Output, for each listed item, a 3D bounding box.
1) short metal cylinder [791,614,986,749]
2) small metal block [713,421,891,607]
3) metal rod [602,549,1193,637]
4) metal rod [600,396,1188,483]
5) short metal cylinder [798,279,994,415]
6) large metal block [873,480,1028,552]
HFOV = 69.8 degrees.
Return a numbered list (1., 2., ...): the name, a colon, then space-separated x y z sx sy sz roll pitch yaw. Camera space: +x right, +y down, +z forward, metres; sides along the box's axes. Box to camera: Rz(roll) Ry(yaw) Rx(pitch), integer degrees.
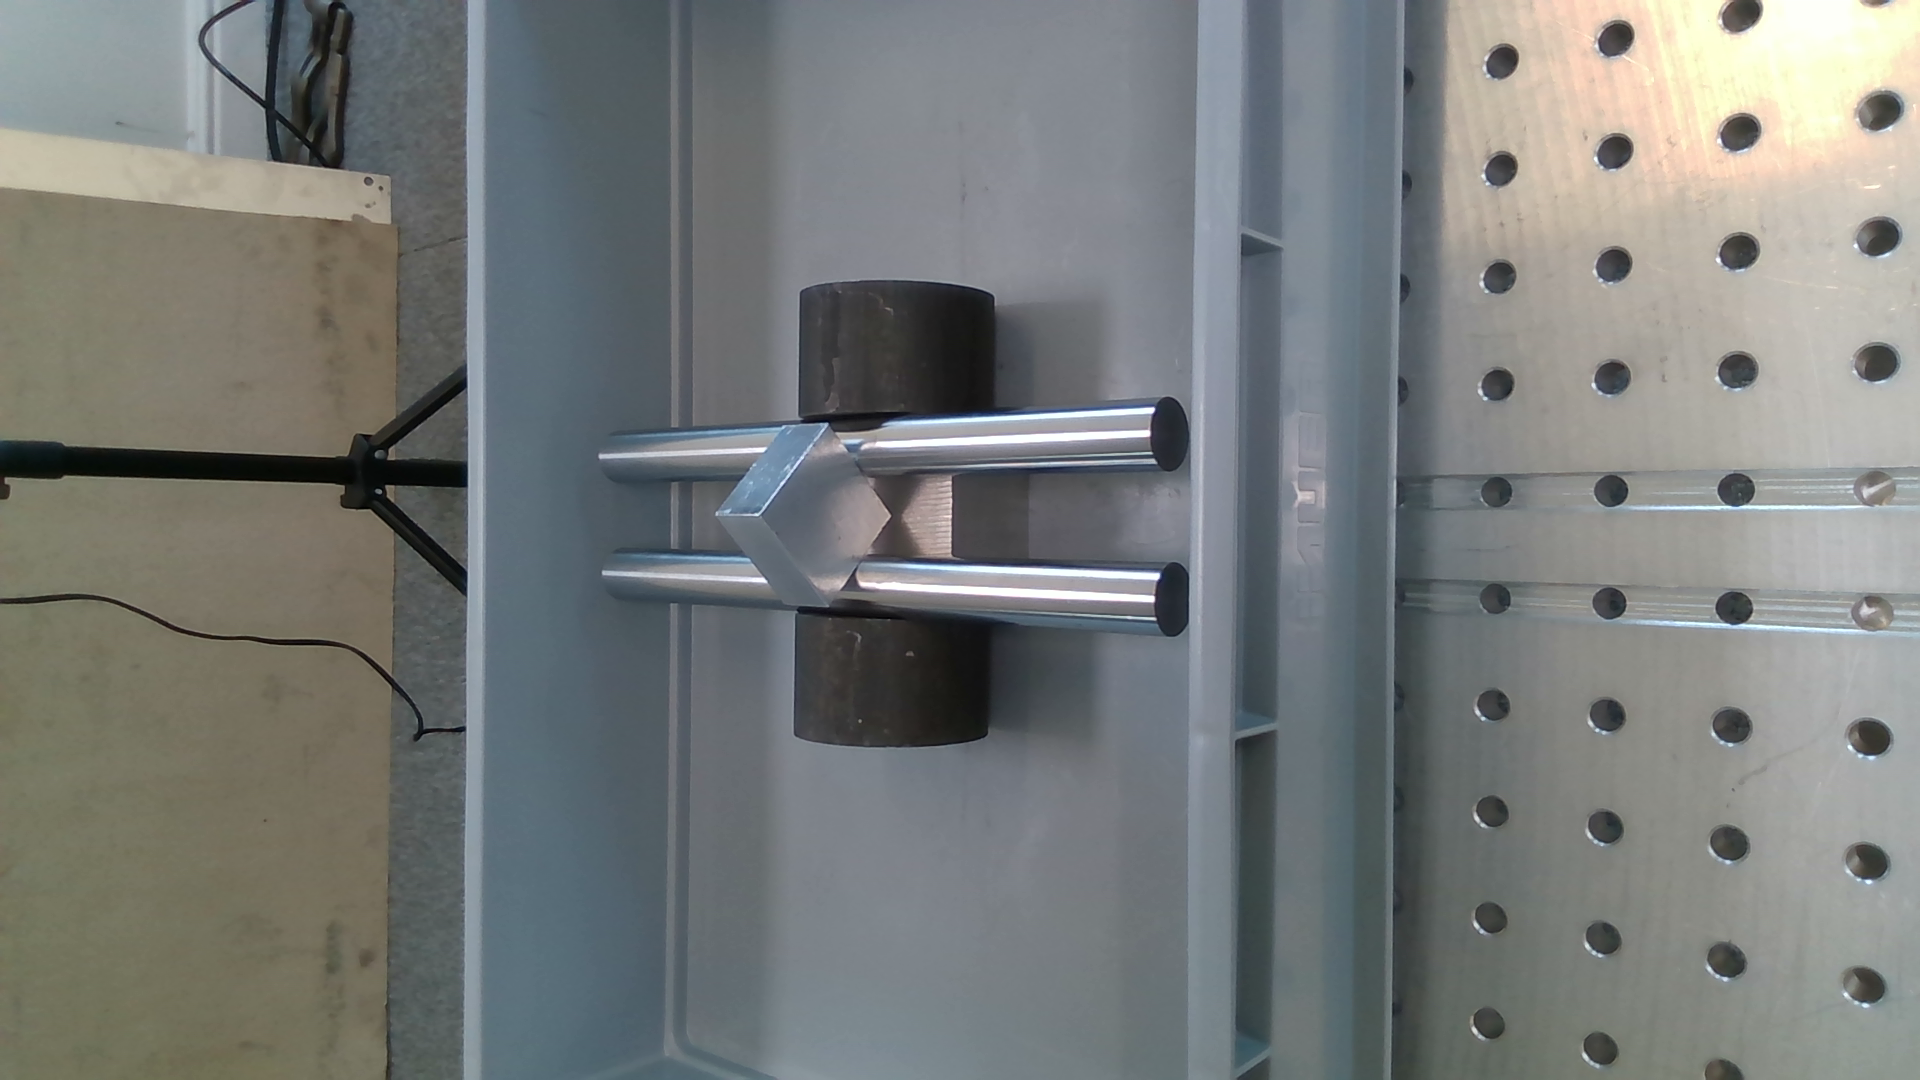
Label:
1. short metal cylinder: -0.030 0.055 0.570 0.080 0.080 0.050 1 90 40
2. small metal block: -0.060 -0.010 0.533 0.025 0.050 0.050 1 47 40
3. metal rod: -0.044 0.018 0.553 0.300 0.025 0.025 1 91 40
4. metal rod: -0.045 -0.037 0.554 0.300 0.025 0.025 1 91 40
5. short metal cylinder: -0.026 -0.075 0.567 0.080 0.080 0.050 2 92 40
6. large metal block: -0.019 -0.010 0.580 0.080 0.050 0.080 1 91 40
